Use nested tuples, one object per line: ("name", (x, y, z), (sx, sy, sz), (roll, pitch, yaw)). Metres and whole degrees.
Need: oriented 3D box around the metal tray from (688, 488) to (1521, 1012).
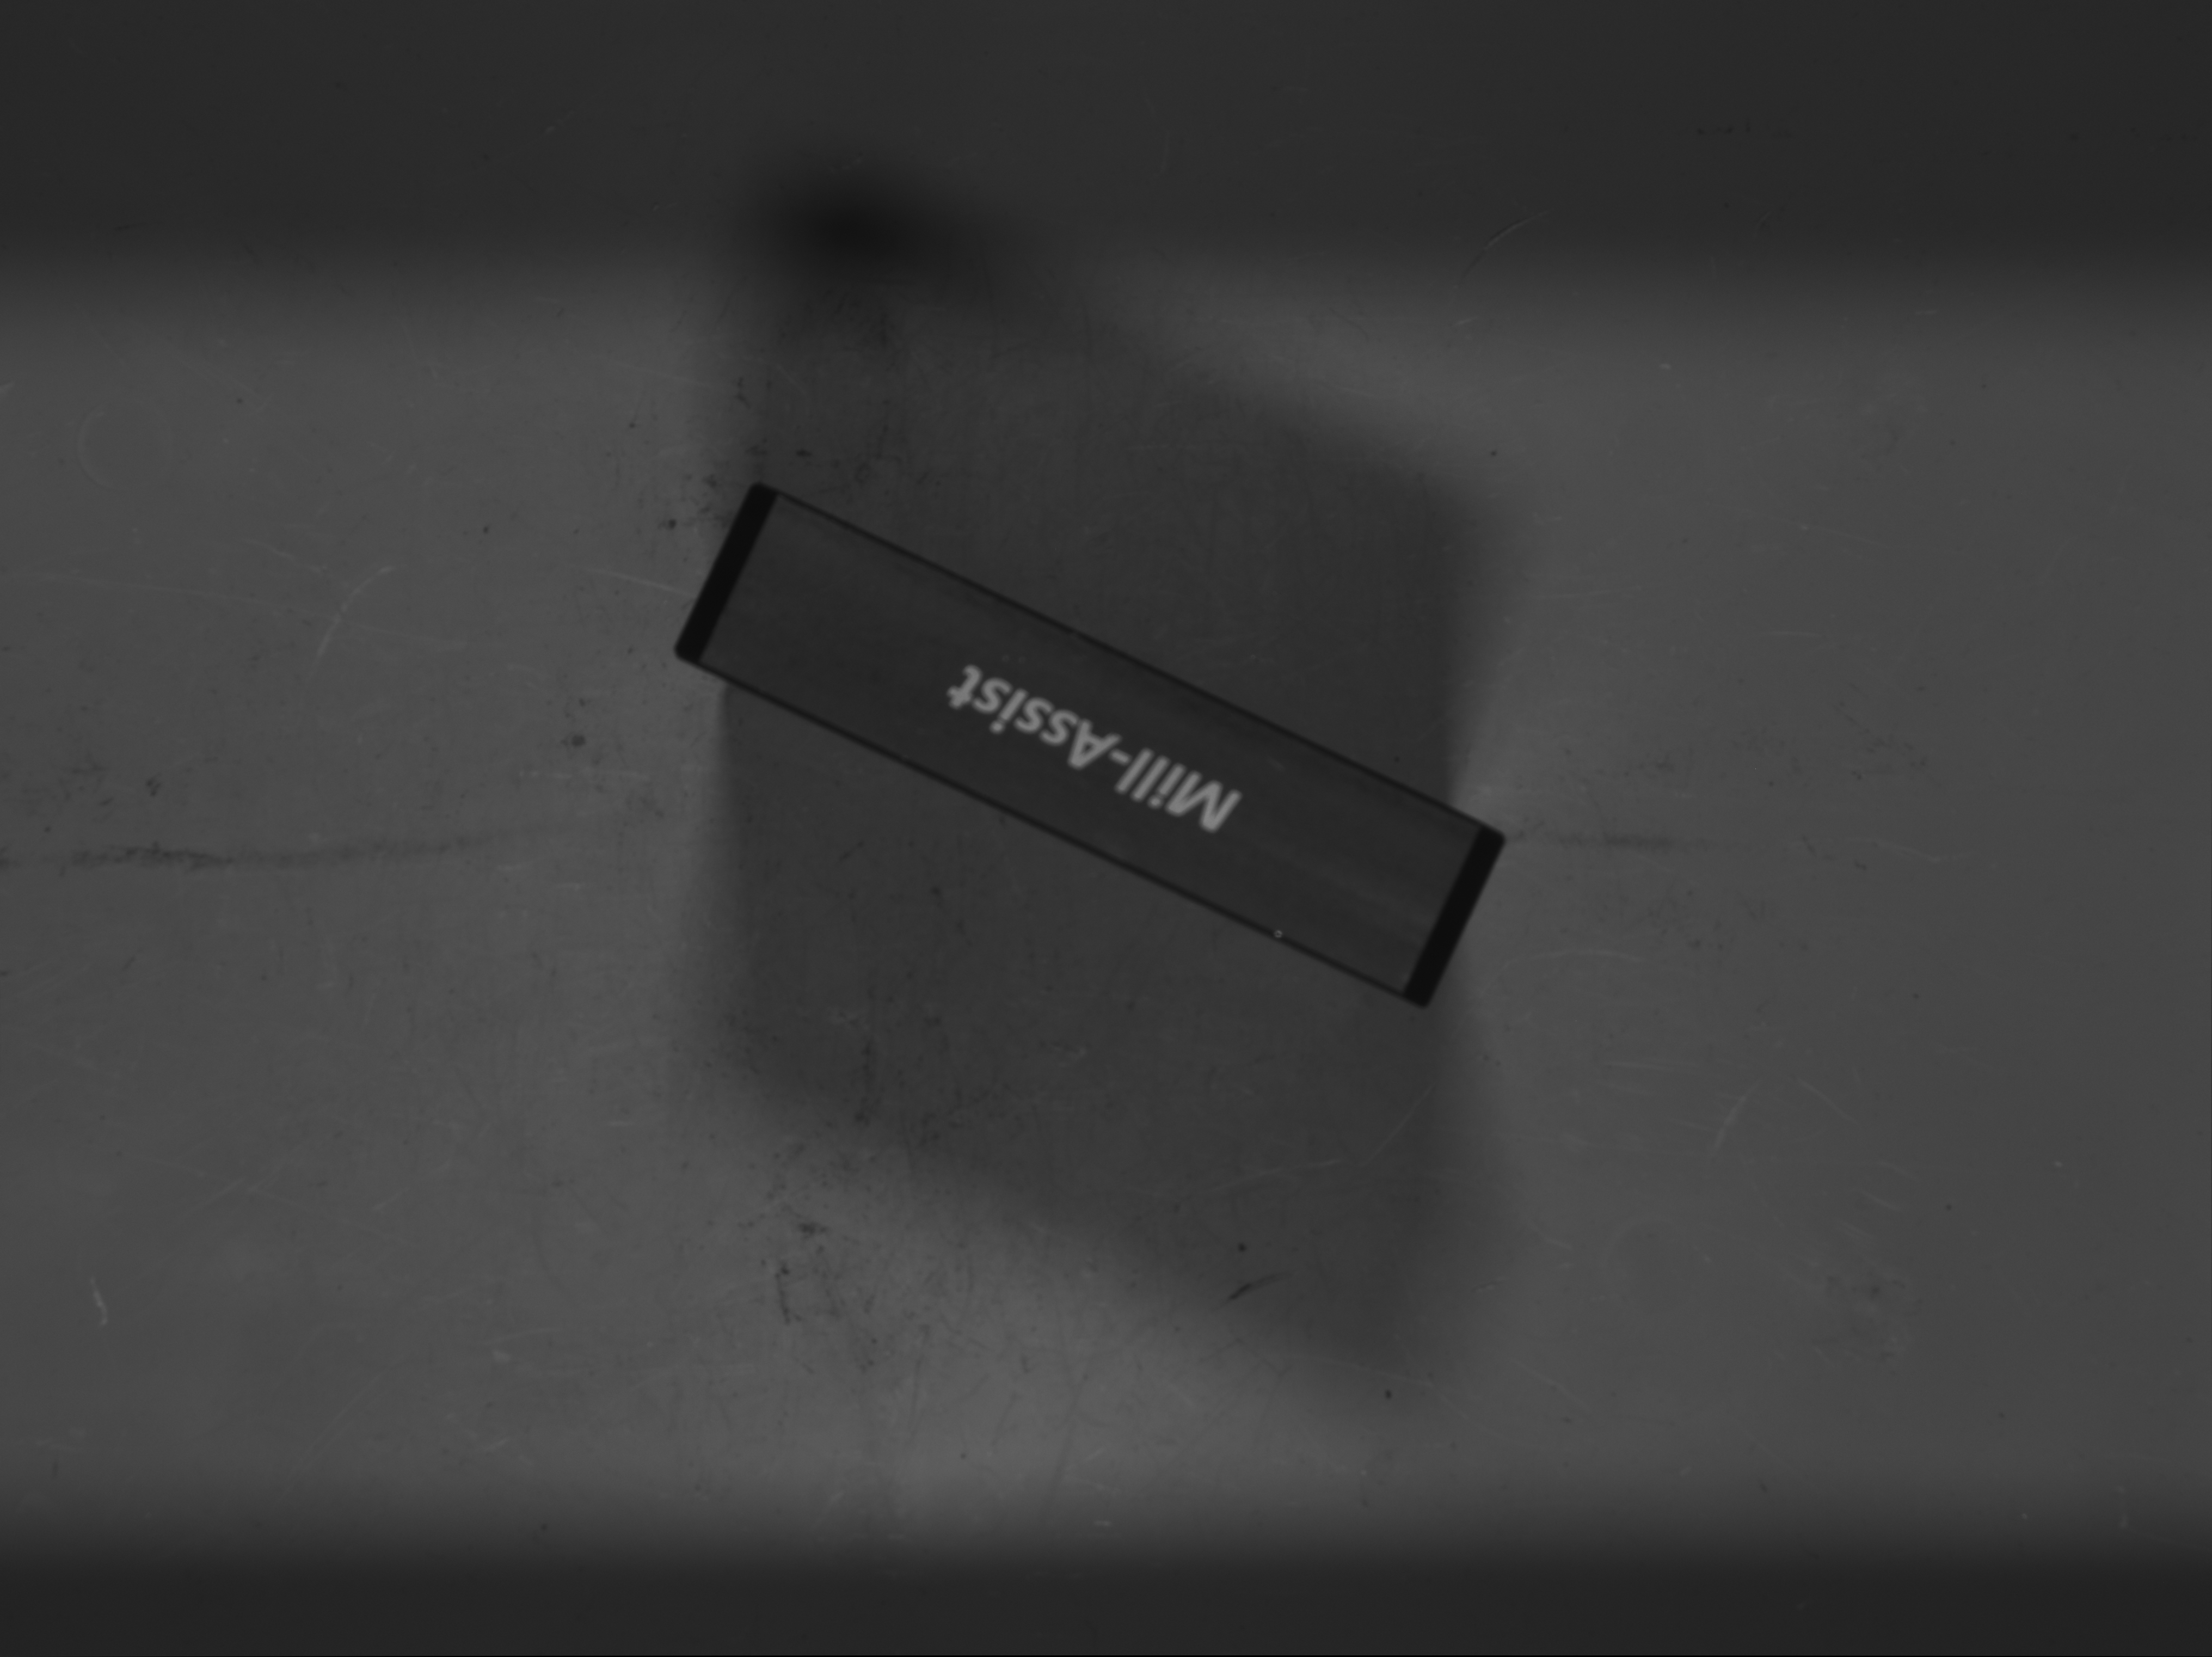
("metal tray", (-0.001, -0.012, 0.610), (0.130, 0.090, 0.030), (25, 90, -1))
